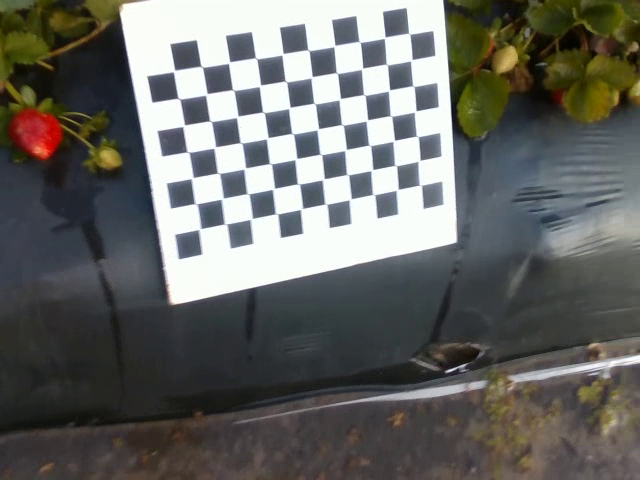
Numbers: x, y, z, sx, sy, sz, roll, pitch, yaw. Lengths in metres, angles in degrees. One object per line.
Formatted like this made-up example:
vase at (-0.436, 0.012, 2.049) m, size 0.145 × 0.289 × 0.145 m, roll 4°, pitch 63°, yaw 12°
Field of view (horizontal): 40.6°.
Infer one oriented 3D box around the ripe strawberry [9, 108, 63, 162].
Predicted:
ripe strawberry at (-0.238, -0.086, 0.725) m, size 0.043 × 0.057 × 0.052 m, roll -34°, pitch -36°, yaw -1°
